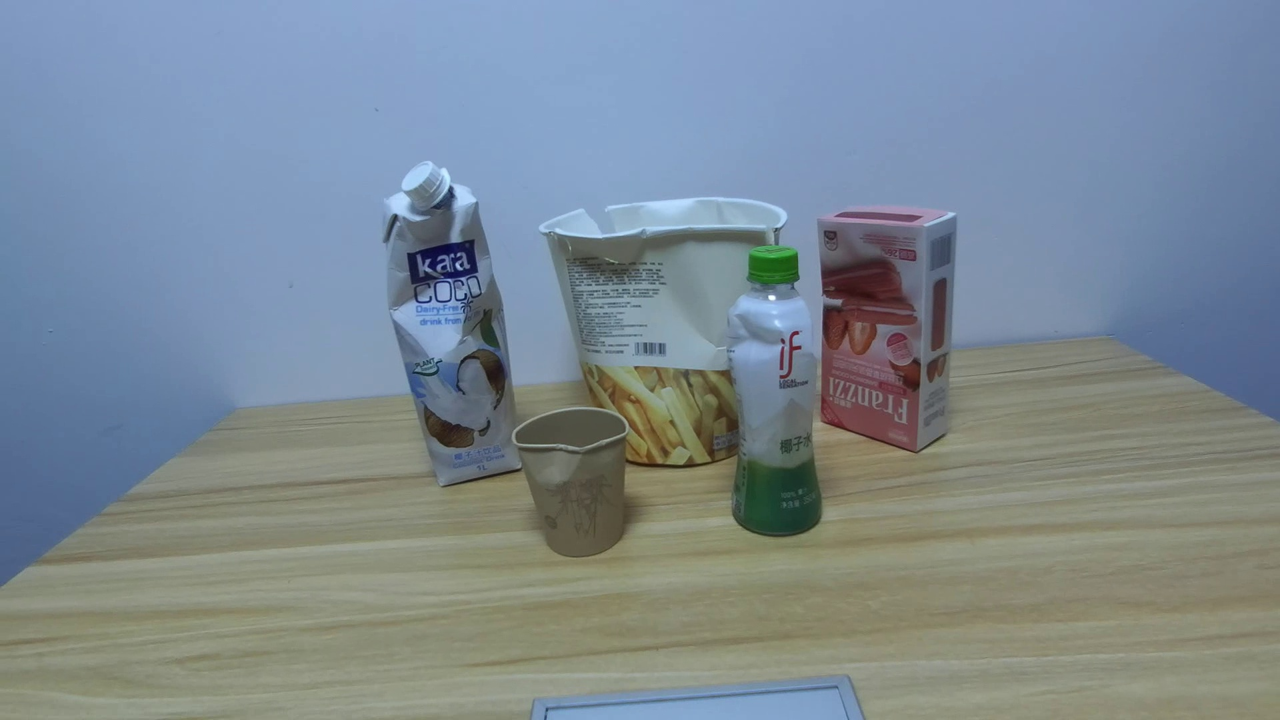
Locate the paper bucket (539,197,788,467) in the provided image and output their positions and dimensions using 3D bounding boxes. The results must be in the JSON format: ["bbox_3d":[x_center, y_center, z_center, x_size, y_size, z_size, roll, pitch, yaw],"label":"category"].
[{"bbox_3d":[0.025,-0.030,0.607,0.202,0.197,0.146,-2,20,11],"label":"paper bucket"}]

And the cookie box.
[{"bbox_3d":[0.195,-0.028,0.578,0.049,0.187,0.104,-21,24,-35],"label":"cookie box"}]

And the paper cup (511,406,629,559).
[{"bbox_3d":[-0.043,0.084,0.483,0.074,0.081,0.068,-18,23,-33],"label":"paper cup"}]

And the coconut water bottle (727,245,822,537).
[{"bbox_3d":[0.090,0.021,0.466,0.069,0.186,0.069,-4,20,2],"label":"coconut water bottle"}]

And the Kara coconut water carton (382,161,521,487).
[{"bbox_3d":[-0.152,-0.028,0.568,0.083,0.256,0.078,-5,22,-2],"label":"Kara coconut water carton"}]
